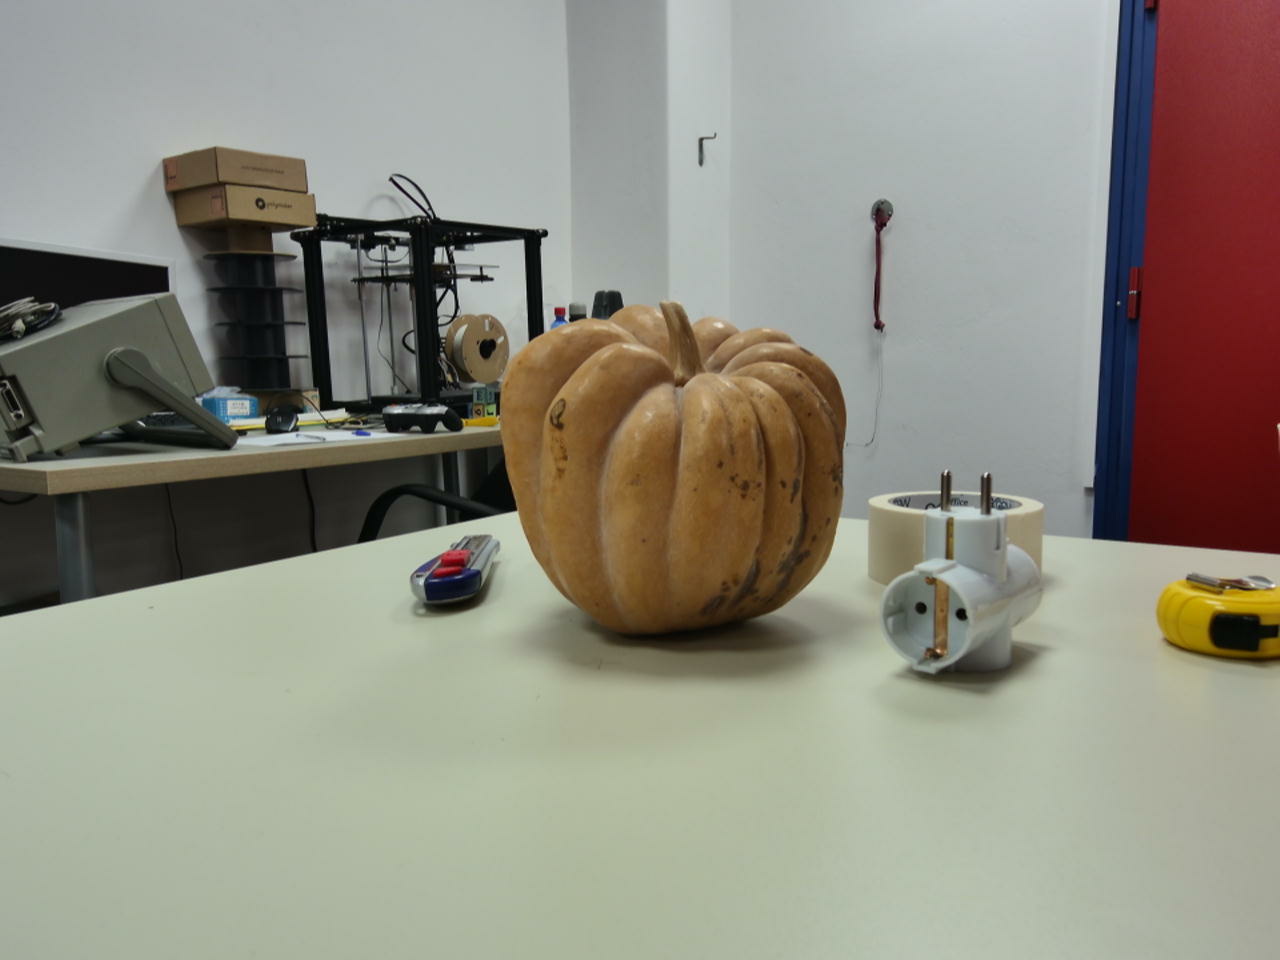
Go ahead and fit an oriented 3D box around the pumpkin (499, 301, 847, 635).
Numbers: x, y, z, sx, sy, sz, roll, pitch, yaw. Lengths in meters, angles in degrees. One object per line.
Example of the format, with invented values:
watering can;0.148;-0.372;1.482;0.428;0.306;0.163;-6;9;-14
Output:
pumpkin;0.017;-0.008;0.548;0.199;0.177;0.198;-1;5;0
